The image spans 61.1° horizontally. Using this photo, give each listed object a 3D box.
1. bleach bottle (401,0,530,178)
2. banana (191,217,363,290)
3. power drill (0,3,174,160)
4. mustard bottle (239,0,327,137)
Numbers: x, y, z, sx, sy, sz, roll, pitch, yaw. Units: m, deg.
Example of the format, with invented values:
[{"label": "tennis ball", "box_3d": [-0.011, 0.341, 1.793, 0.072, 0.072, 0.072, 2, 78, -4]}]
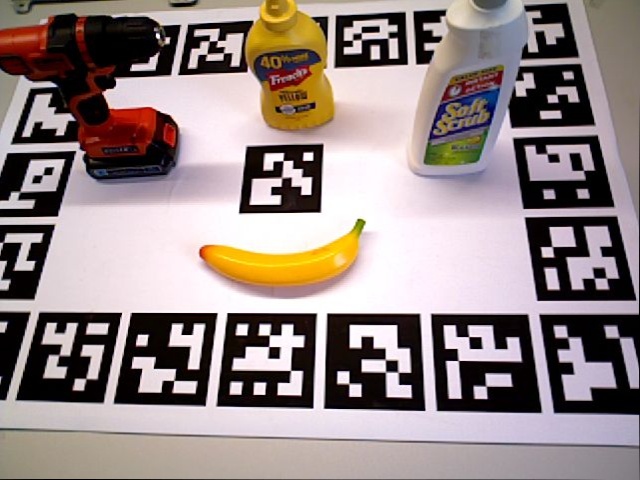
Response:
[{"label": "bleach bottle", "box_3d": [0.143, -0.160, 0.552, 0.102, 0.254, 0.067, 7, 64, 8]}, {"label": "banana", "box_3d": [-0.047, 0.020, 0.599, 0.197, 0.039, 0.073, -7, 66, 7]}, {"label": "power drill", "box_3d": [-0.234, -0.171, 0.601, 0.184, 0.189, 0.057, -7, 63, 6]}, {"label": "mustard bottle", "box_3d": [-0.043, -0.201, 0.628, 0.096, 0.194, 0.058, -7, 63, 0]}]
